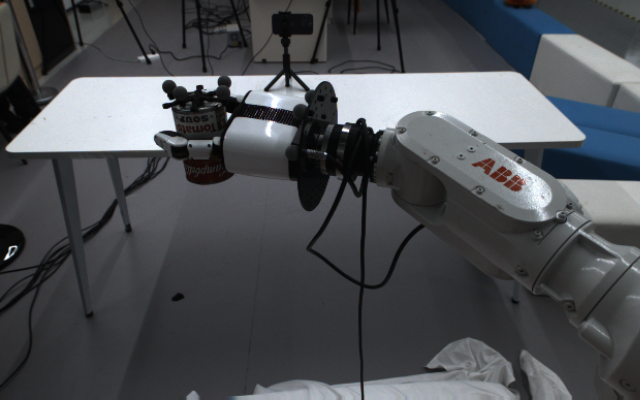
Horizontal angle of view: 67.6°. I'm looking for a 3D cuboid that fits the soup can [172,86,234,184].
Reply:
[{"bbox_3d":[-0.149,-0.079,0.628,0.067,0.101,0.067,-2,32,1],"label":"soup can"}]
